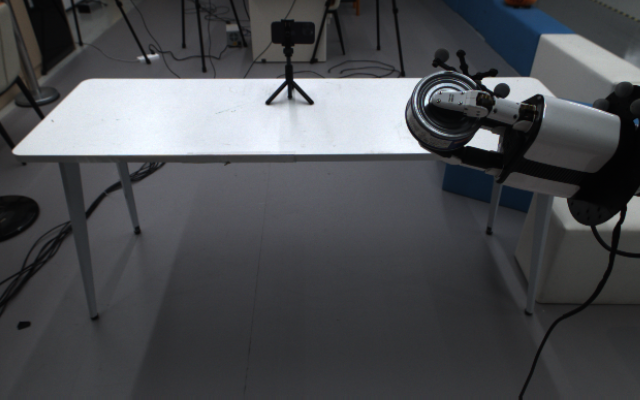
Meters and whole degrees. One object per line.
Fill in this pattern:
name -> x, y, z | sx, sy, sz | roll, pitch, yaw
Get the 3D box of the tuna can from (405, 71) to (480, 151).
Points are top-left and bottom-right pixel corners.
tuna can -> 0.144, -0.103, 0.547 | 0.085, 0.034, 0.085 | 0, 74, 0
